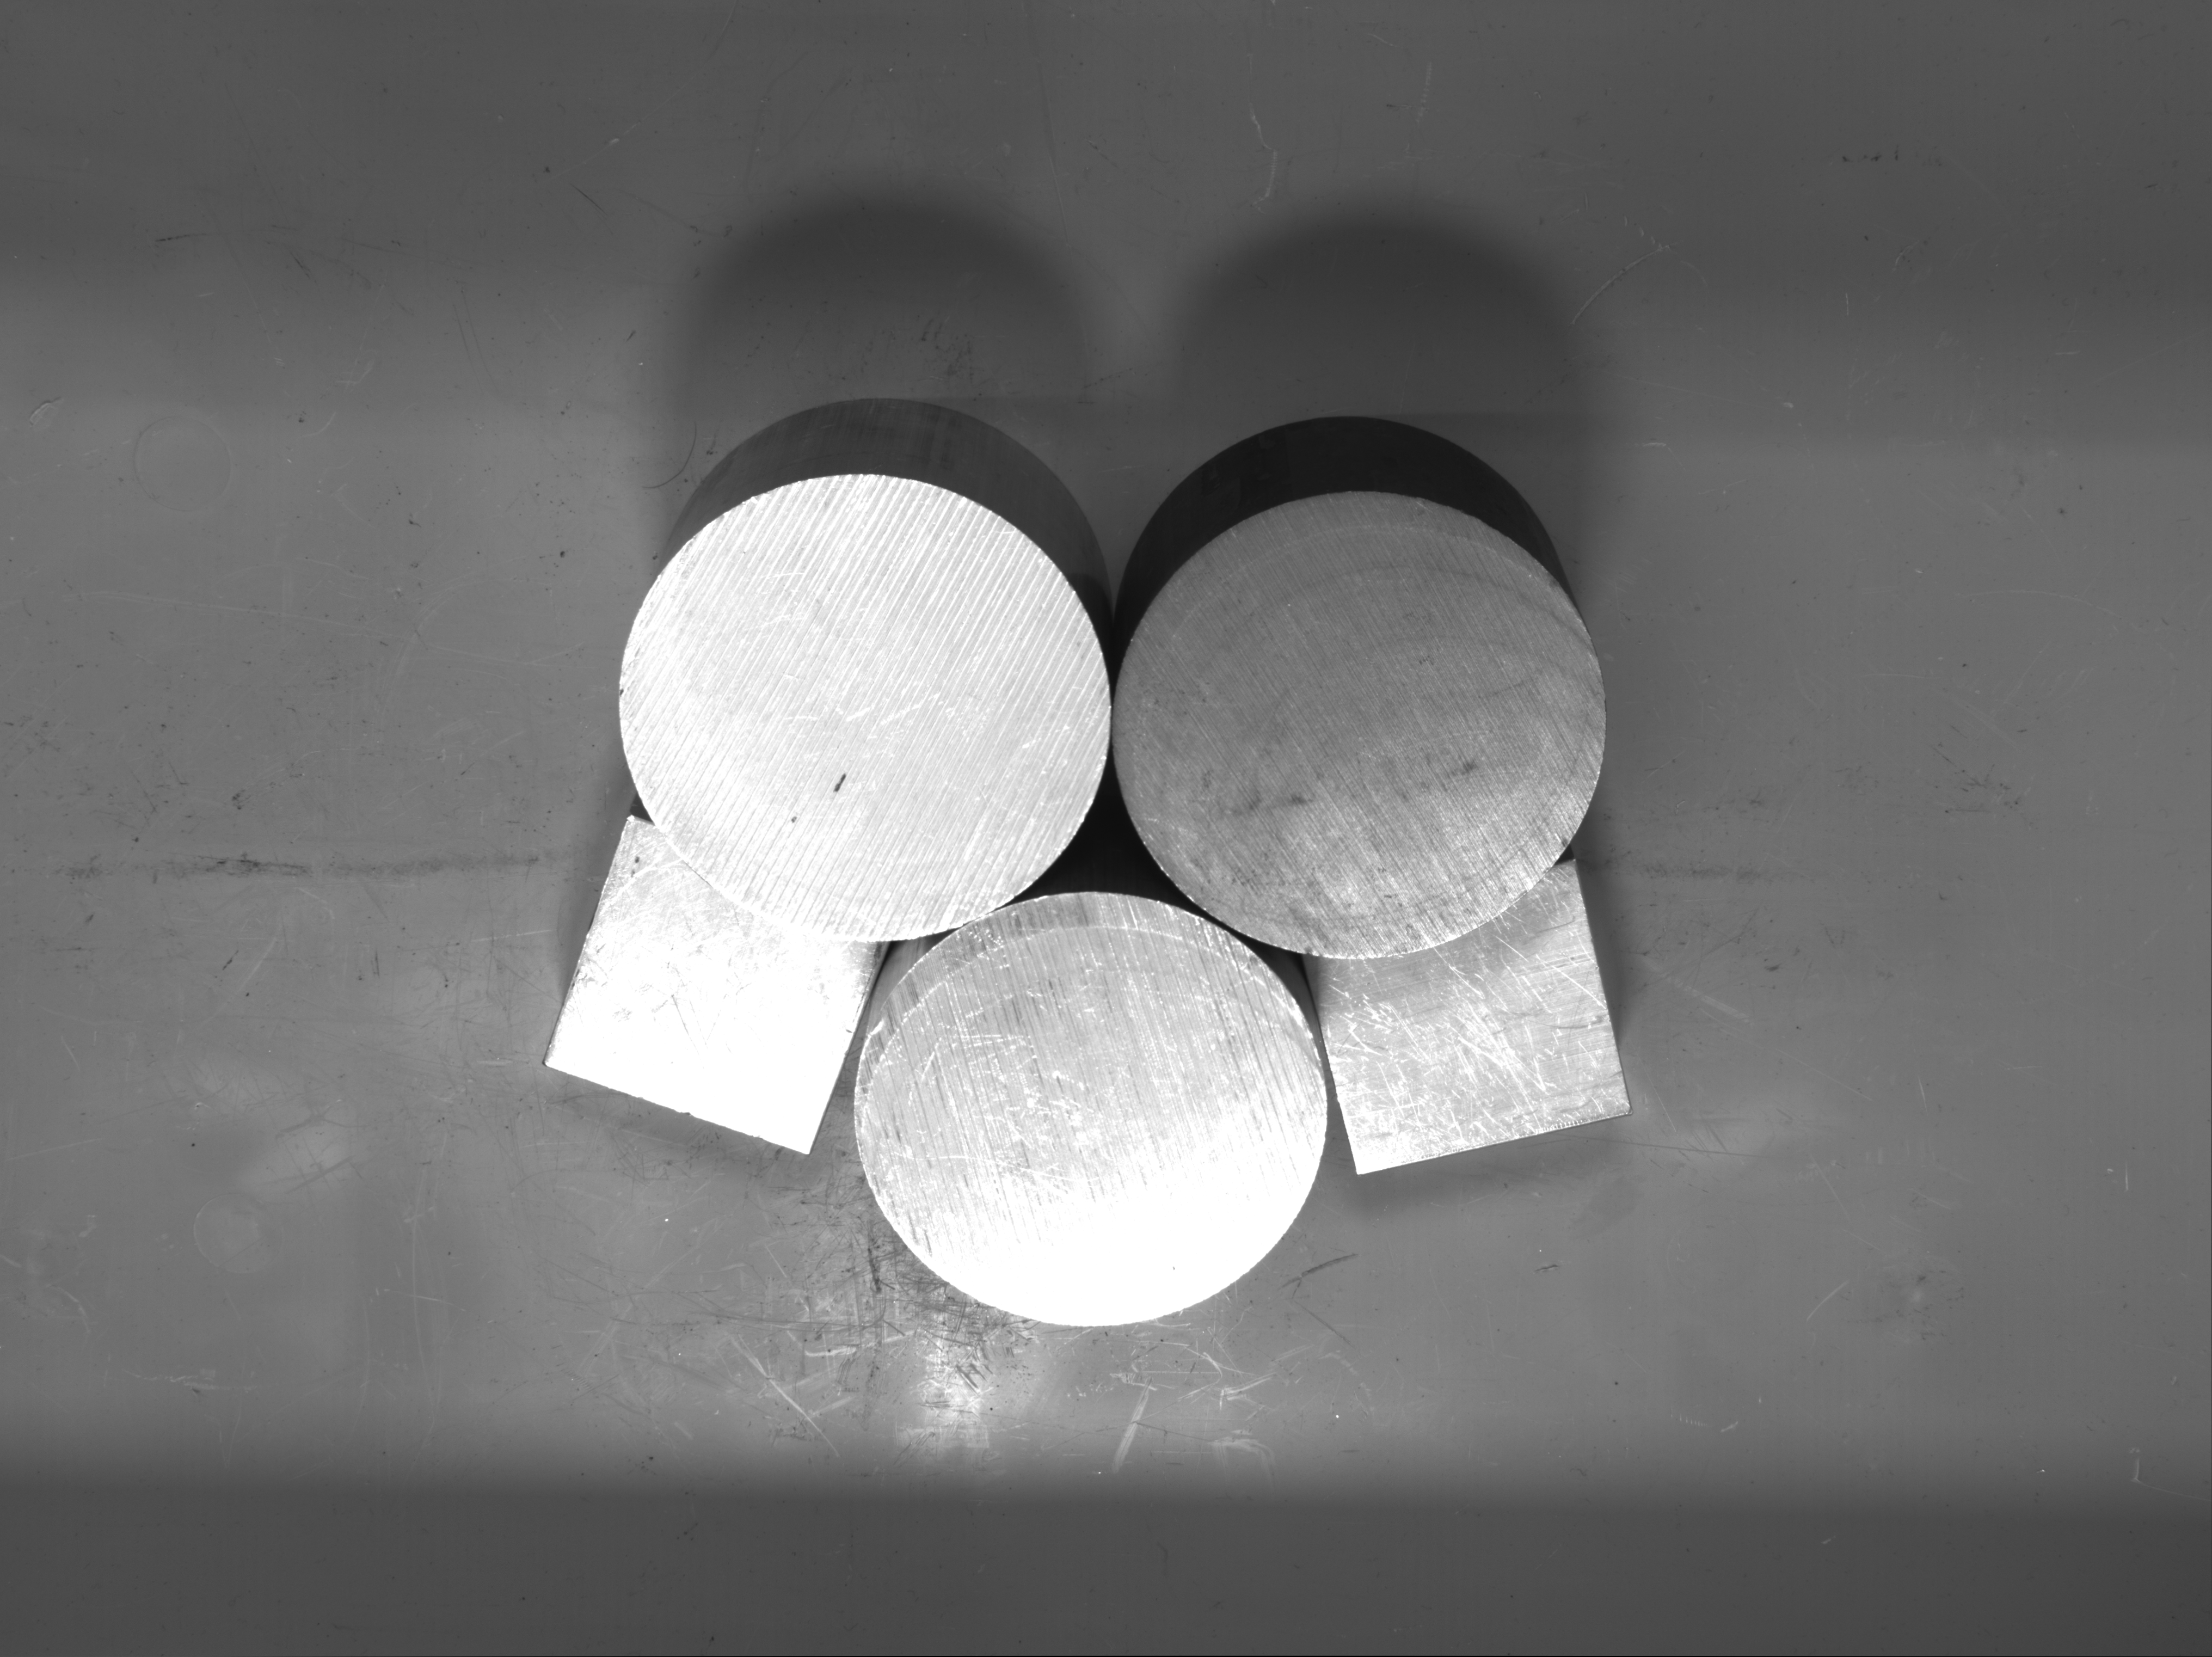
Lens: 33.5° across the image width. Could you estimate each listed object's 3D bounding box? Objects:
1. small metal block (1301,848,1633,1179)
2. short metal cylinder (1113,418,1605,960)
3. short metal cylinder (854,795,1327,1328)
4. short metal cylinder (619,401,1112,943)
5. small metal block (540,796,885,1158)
[{"bbox_3d":[0.063,0.029,0.654,0.050,0.025,0.050,-13,109,5],"label":"small metal block"},{"bbox_3d":[0.041,-0.024,0.621,0.080,0.050,0.080,0,110,0],"label":"short metal cylinder"},{"bbox_3d":[-0.003,0.040,0.644,0.080,0.050,0.080,0,110,0],"label":"short metal cylinder"},{"bbox_3d":[-0.039,-0.027,0.620,0.080,0.050,0.080,0,110,0],"label":"short metal cylinder"},{"bbox_3d":[-0.067,0.024,0.652,0.050,0.025,0.050,20,109,-7],"label":"small metal block"}]
